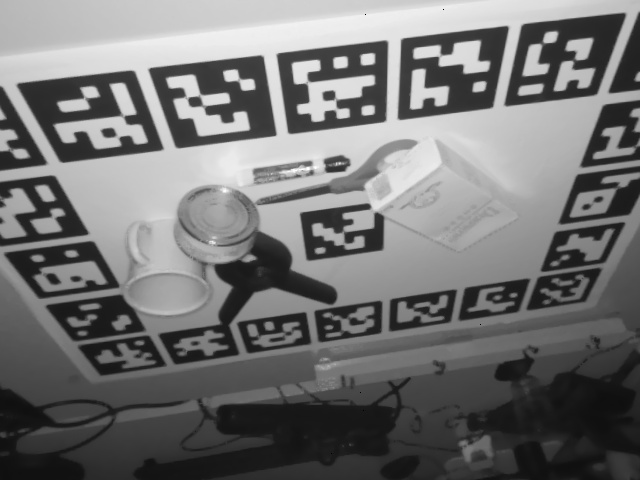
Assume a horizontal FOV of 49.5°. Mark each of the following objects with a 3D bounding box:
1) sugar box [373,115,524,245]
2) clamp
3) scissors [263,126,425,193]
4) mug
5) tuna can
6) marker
[{"bbox_3d":[0.146,-0.059,0.770,0.091,0.045,0.178,-31,142,25],"label":"sugar box"},{"bbox_3d":[-0.074,0.022,0.854,0.165,0.037,0.202,-13,139,5],"label":"clamp"},{"bbox_3d":[0.037,-0.074,0.755,0.202,0.016,0.087,-12,144,6],"label":"scissors"},{"bbox_3d":[-0.164,-0.003,0.760,0.092,0.082,0.118,-24,142,18],"label":"mug"},{"bbox_3d":[-0.107,-0.039,0.720,0.086,0.086,0.033,5,139,-16],"label":"tuna can"},{"bbox_3d":[-0.010,-0.097,0.722,0.121,0.020,0.019,-9,139,-1],"label":"marker"}]
